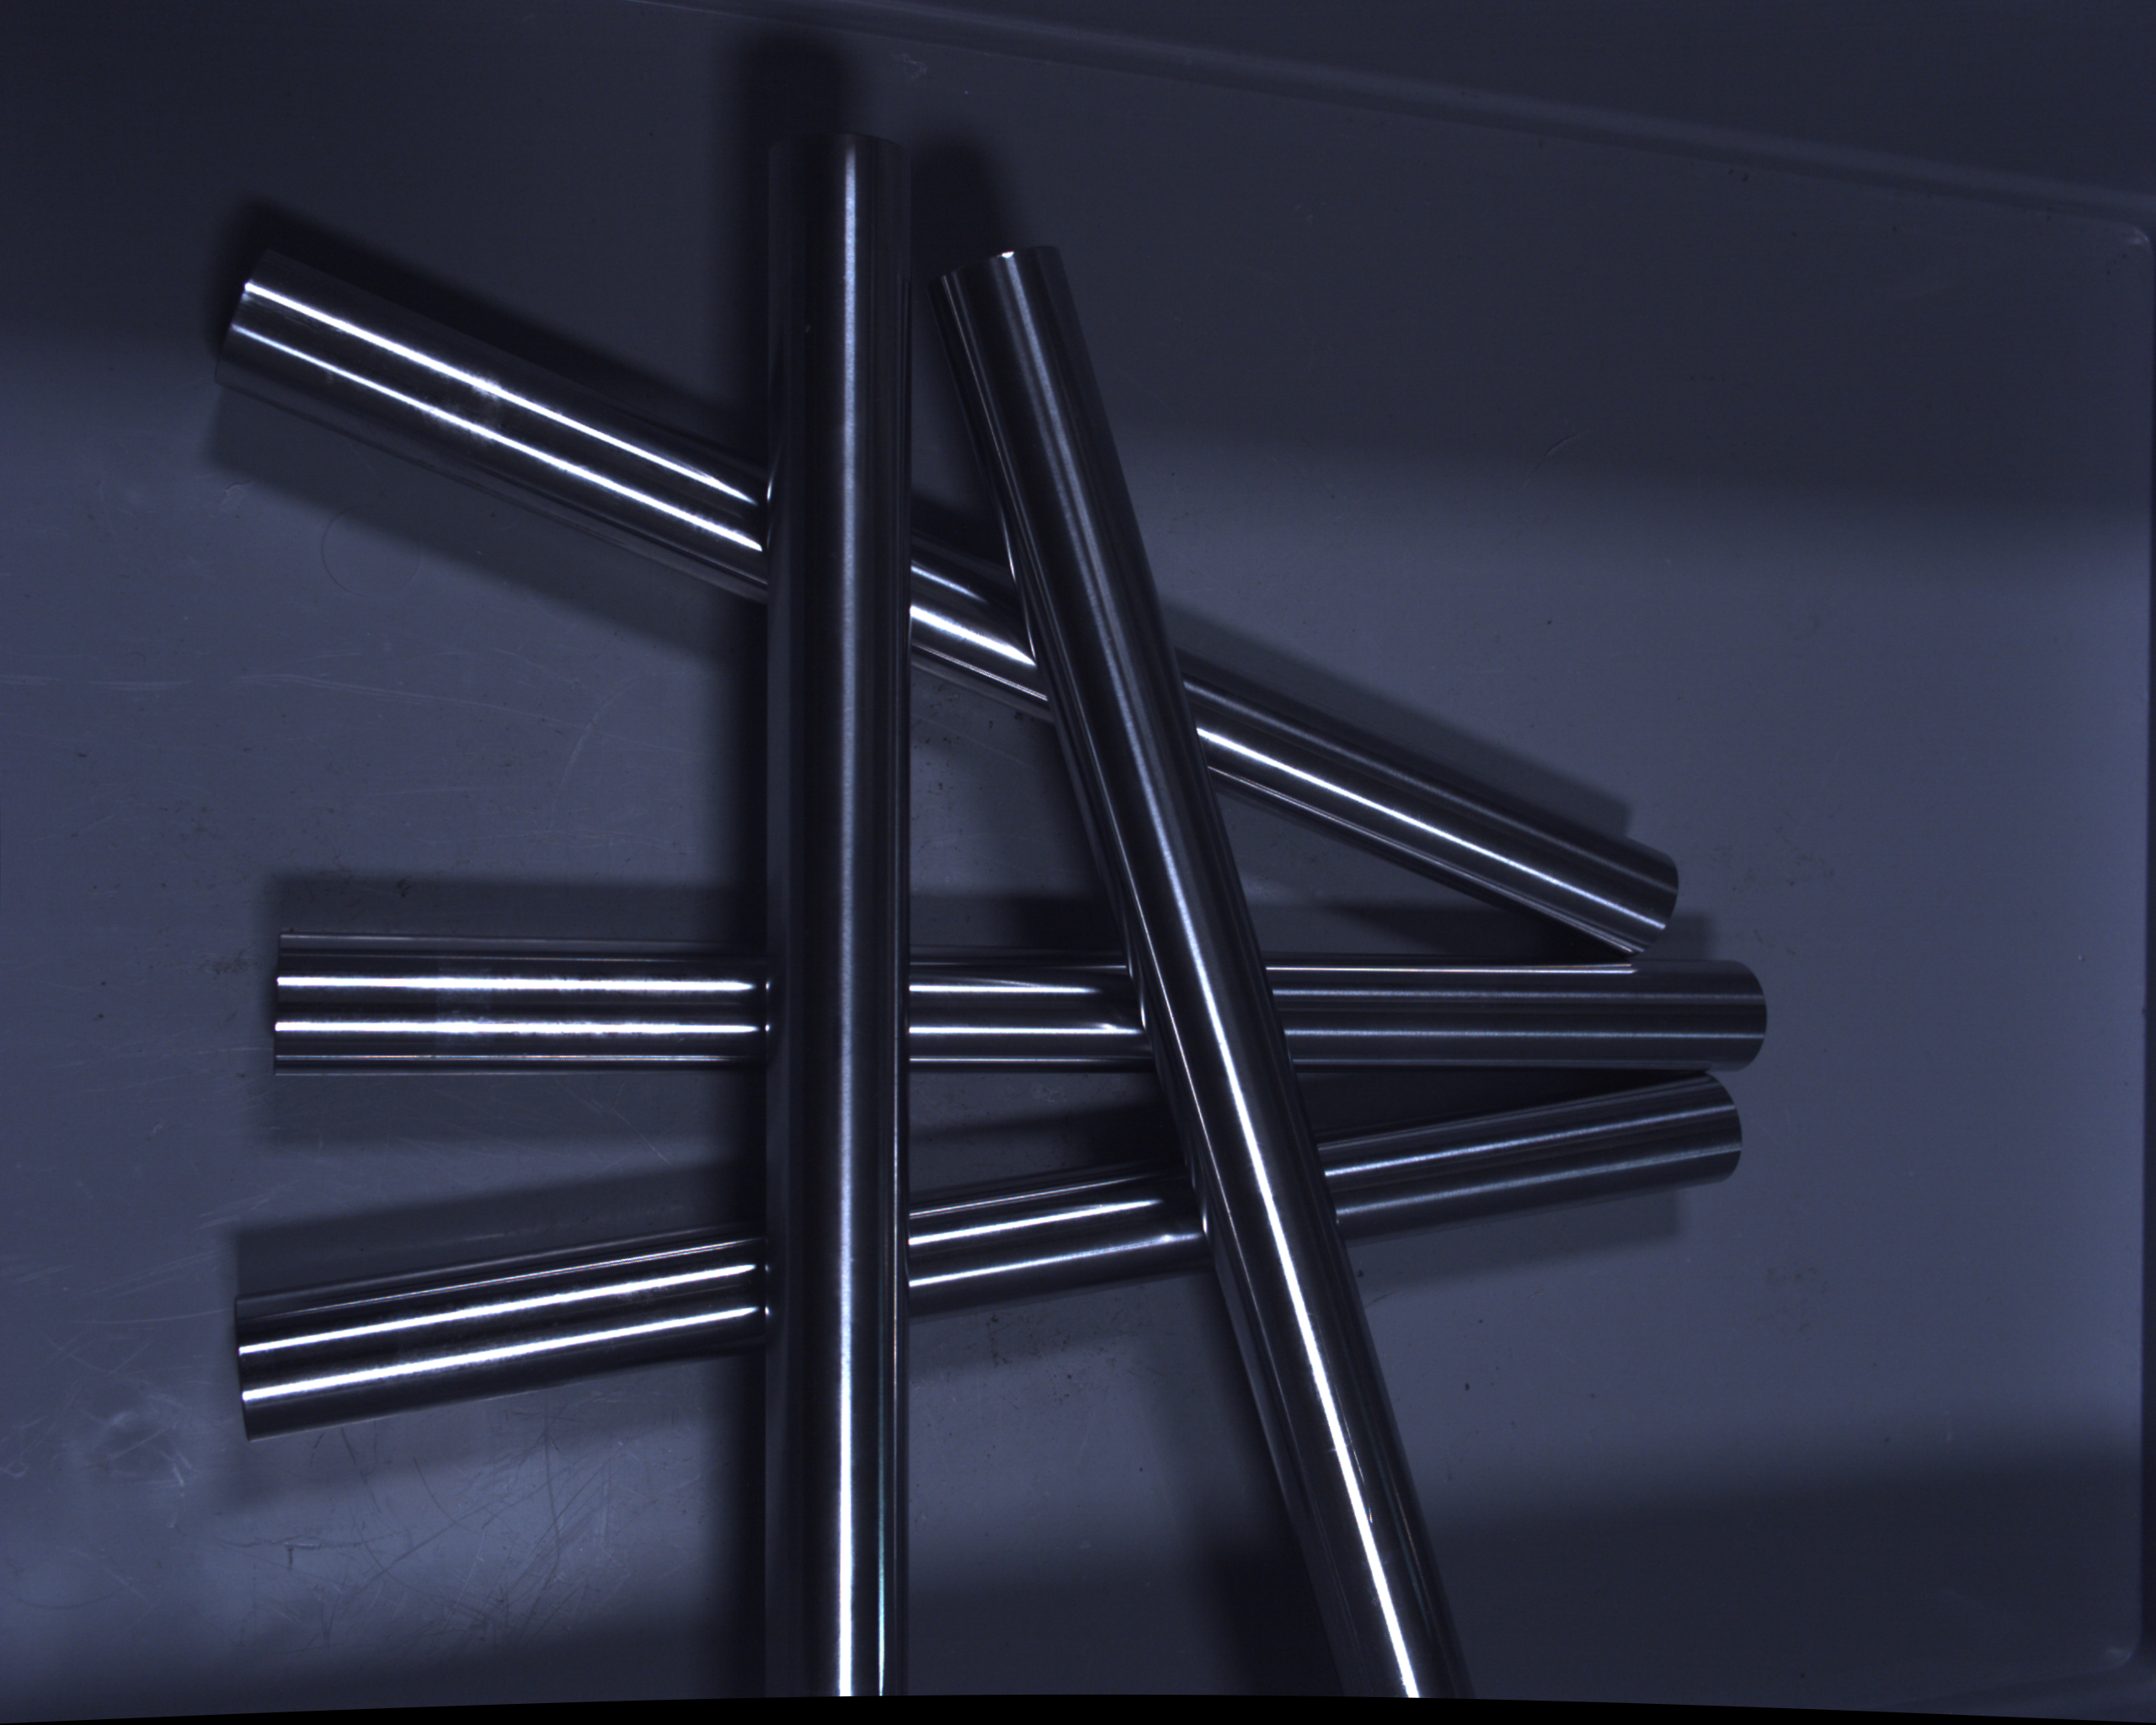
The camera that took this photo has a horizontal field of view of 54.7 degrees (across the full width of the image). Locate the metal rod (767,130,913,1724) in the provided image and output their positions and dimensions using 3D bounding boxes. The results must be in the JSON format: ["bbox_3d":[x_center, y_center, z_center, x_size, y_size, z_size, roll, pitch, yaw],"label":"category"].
[{"bbox_3d":[-0.042,0.025,0.367,0.025,0.025,0.298,0,90,-20],"label":"metal rod"}]

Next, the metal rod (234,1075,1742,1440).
[{"bbox_3d":[-0.002,0.073,0.409,0.303,0.025,0.025,-5,92,-20],"label":"metal rod"}]

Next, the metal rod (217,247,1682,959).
[{"bbox_3d":[-0.009,-0.042,0.406,0.302,0.025,0.025,21,83,-19],"label":"metal rod"}]

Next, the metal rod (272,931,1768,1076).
[{"bbox_3d":[0.004,0.029,0.411,0.303,0.025,0.025,2,90,-21],"label":"metal rod"}]

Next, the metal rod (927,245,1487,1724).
[{"bbox_3d":[0.027,0.035,0.393,0.025,0.025,0.298,-19,97,-19],"label":"metal rod"}]
